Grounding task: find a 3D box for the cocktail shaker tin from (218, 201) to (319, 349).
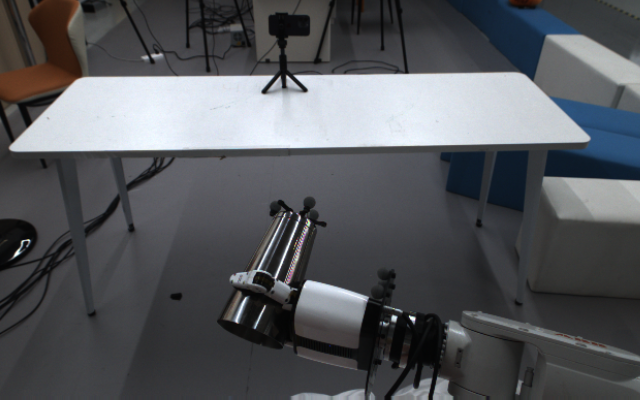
[{"bbox_3d":[-0.064,0.103,0.656,0.093,0.093,0.170,14,60,16],"label":"cocktail shaker tin"}]
